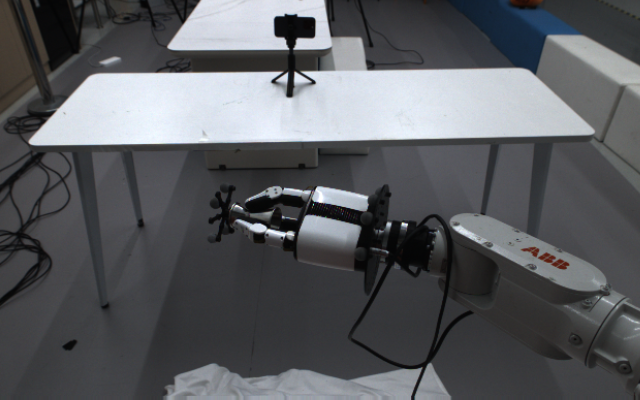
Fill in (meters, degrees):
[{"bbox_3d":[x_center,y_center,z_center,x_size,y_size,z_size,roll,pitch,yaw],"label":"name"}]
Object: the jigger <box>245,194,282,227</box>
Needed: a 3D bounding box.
[{"bbox_3d":[-0.091,0.025,0.725,0.071,0.043,0.043,8,35,17],"label":"jigger"}]
